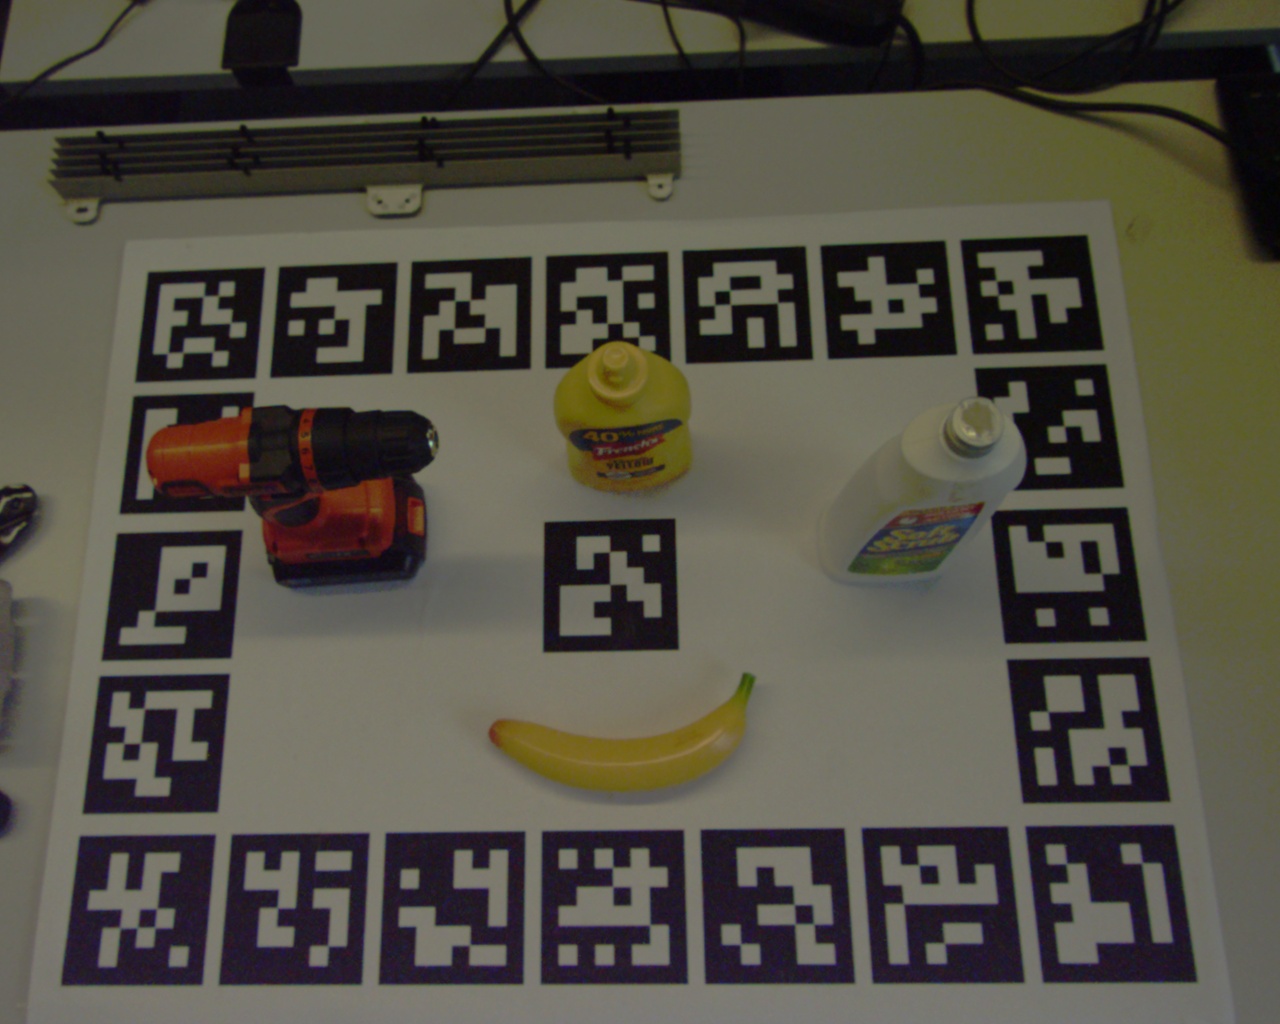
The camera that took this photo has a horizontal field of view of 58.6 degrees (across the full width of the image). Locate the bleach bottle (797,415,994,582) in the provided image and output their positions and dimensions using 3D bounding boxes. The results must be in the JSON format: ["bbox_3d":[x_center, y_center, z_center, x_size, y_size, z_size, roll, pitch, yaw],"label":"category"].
[{"bbox_3d":[0.171,-0.011,0.776,0.103,0.250,0.068,7,75,4],"label":"bleach bottle"}]

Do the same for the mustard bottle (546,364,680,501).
[{"bbox_3d":[-0.019,-0.061,0.835,0.096,0.191,0.058,-8,75,-2],"label":"mustard bottle"}]

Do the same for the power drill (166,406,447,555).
[{"bbox_3d":[-0.209,-0.022,0.803,0.185,0.186,0.057,-7,74,5],"label":"power drill"}]

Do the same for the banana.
[{"bbox_3d":[-0.019,0.162,0.839,0.198,0.038,0.074,-7,76,4],"label":"banana"}]
